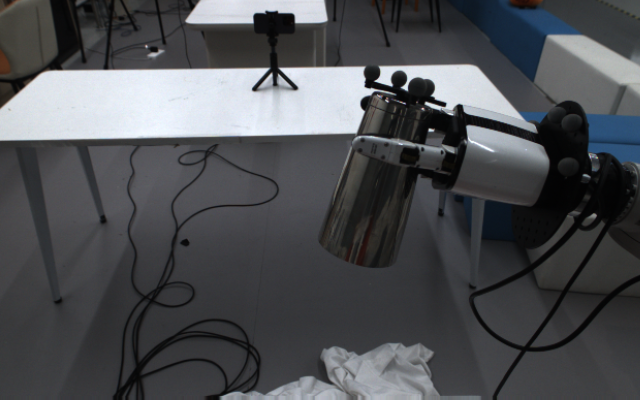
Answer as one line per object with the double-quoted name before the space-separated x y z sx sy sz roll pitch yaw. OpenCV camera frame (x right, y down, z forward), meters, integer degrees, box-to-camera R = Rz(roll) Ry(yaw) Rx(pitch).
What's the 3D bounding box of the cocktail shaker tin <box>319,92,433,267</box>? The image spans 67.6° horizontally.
"cocktail shaker tin" 0.066 -0.026 0.525 0.093 0.170 0.093 14 18 -5
